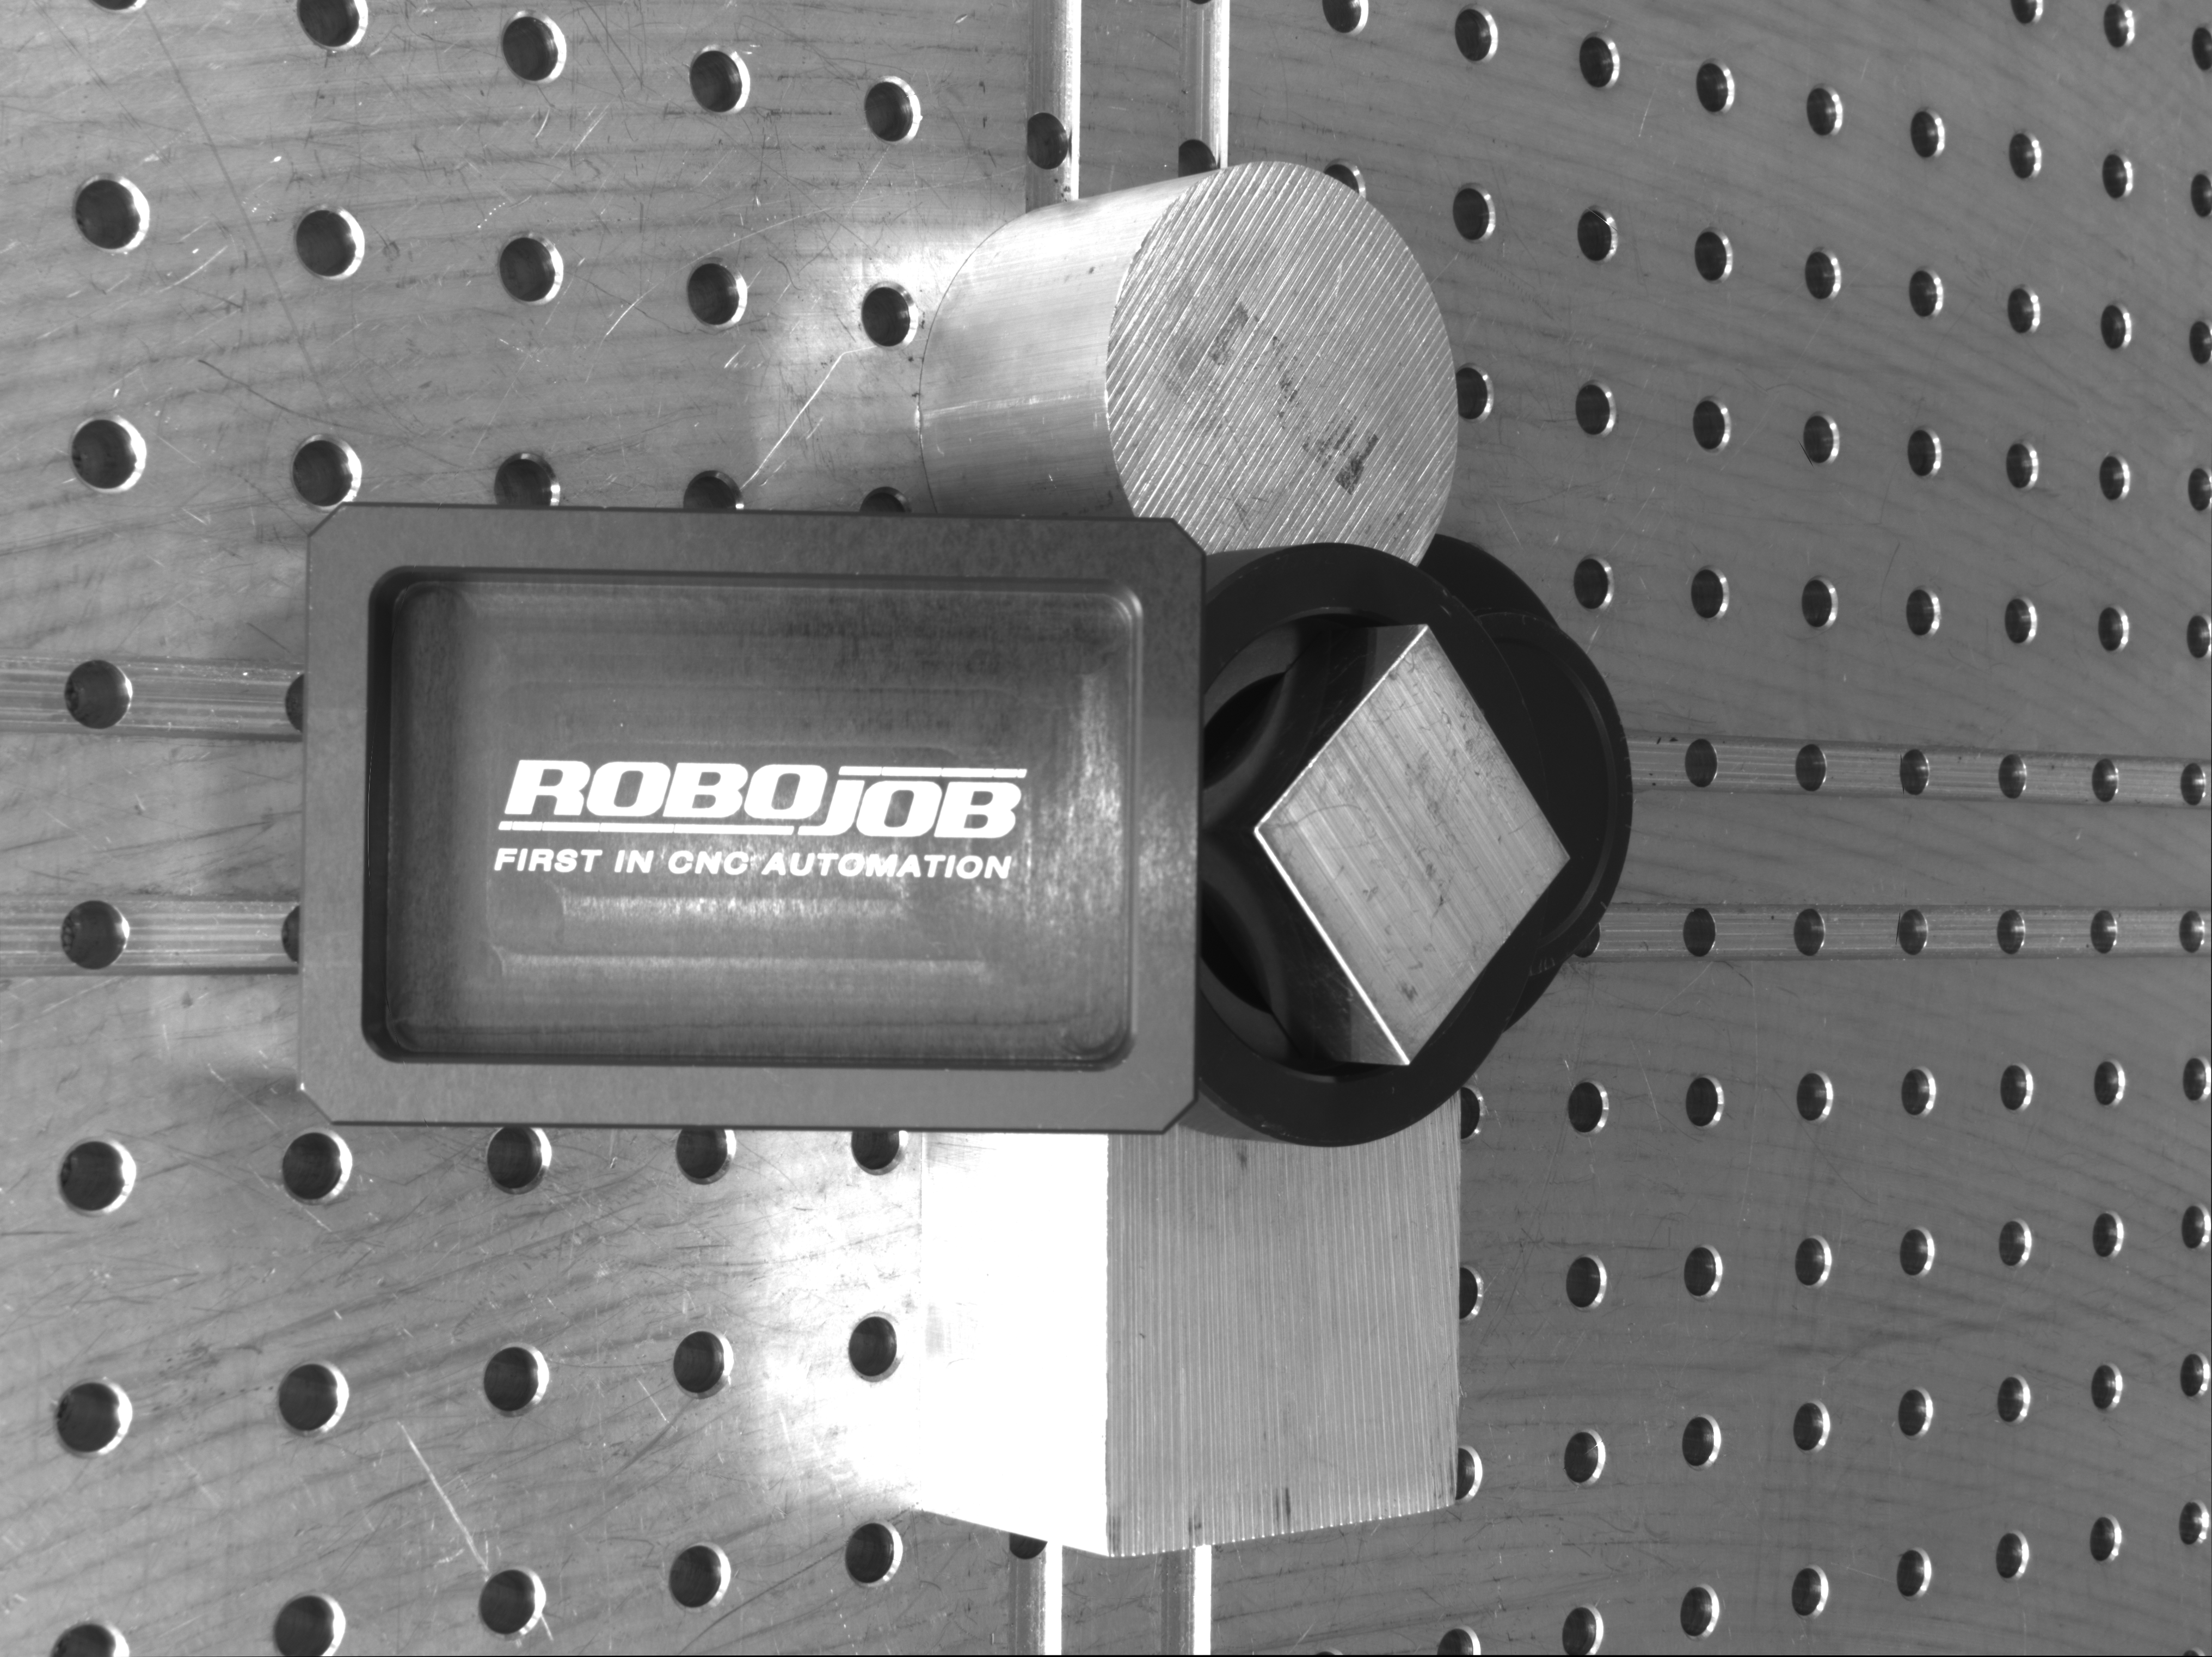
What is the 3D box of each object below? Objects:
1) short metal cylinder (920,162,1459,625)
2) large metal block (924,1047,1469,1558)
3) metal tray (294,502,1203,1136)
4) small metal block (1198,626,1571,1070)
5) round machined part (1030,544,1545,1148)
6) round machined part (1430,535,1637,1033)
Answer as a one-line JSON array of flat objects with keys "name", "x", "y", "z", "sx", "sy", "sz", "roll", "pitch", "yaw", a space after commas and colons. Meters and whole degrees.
[{"name": "short metal cylinder", "x": 0.015, "y": -0.072, "z": 0.634, "sx": 0.080, "sy": 0.050, "sz": 0.080, "roll": 0, "pitch": 90, "yaw": -40}, {"name": "large metal block", "x": 0.016, "y": 0.077, "z": 0.632, "sx": 0.080, "sy": 0.050, "sz": 0.080, "roll": 1, "pitch": 89, "yaw": -40}, {"name": "metal tray", "x": -0.052, "y": -0.001, "z": 0.546, "sx": 0.130, "sy": 0.030, "sz": 0.090, "roll": 1, "pitch": 89, "yaw": -3}, {"name": "small metal block", "x": 0.042, "y": 0.003, "z": 0.593, "sx": 0.050, "sy": 0.025, "sz": 0.050, "roll": -49, "pitch": 119, "yaw": -29}, {"name": "round machined part", "x": 0.025, "y": 0.003, "z": 0.611, "sx": 0.098, "sy": 0.042, "sz": 0.098, "roll": 0, "pitch": 90, "yaw": -40}, {"name": "round machined part", "x": 0.060, "y": -0.006, "z": 0.676, "sx": 0.098, "sy": 0.042, "sz": 0.098, "roll": 0, "pitch": 90, "yaw": -40}]
